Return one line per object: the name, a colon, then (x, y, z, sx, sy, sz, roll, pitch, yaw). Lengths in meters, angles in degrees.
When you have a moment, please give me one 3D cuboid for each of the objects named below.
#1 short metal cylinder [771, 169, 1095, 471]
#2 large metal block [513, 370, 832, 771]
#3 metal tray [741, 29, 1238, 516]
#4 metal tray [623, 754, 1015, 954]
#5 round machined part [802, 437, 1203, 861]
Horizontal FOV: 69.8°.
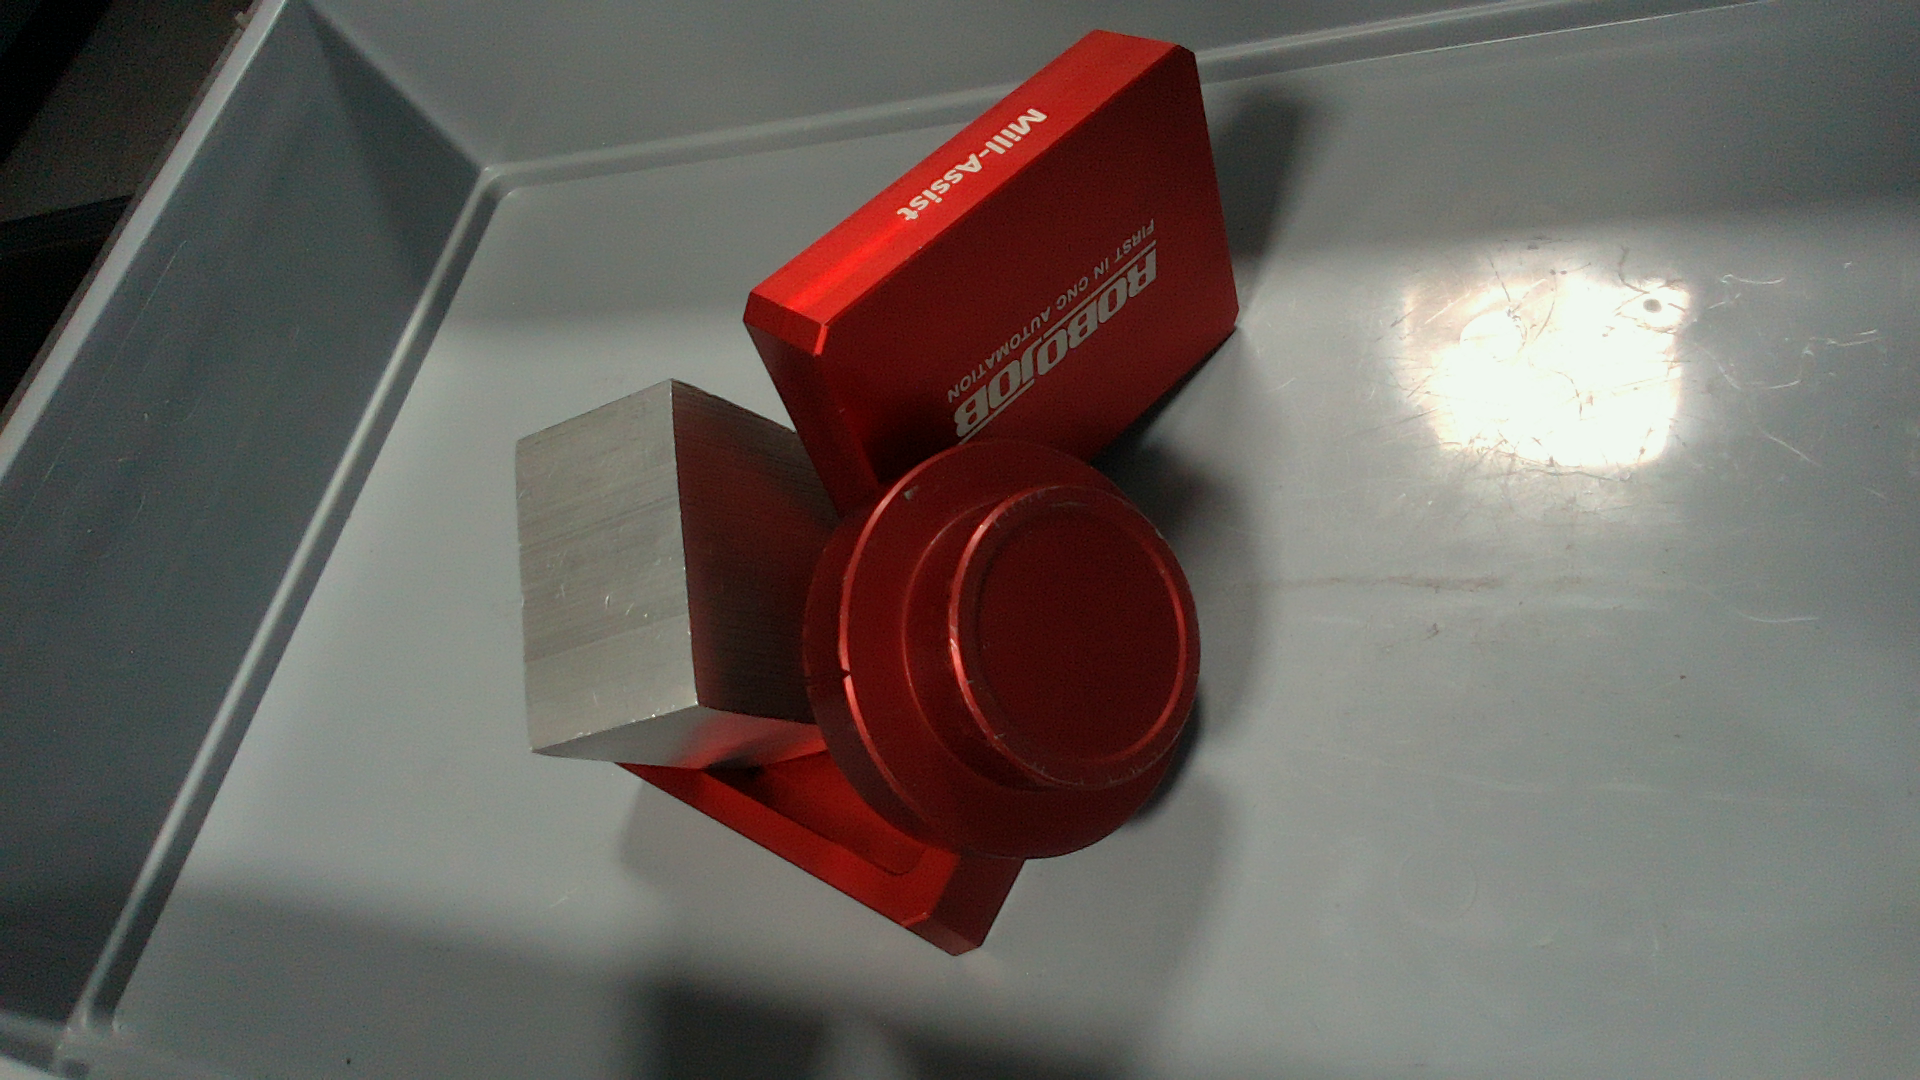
short metal cylinder: (-0.008, -0.064, 0.401, 0.080, 0.050, 0.080, -24, 27, 14)
large metal block: (-0.064, 0.013, 0.354, 0.050, 0.080, 0.080, -18, 70, 26)
metal tray: (0.015, -0.060, 0.359, 0.130, 0.090, 0.030, -42, 46, -21)
metal tray: (-0.033, 0.043, 0.379, 0.129, 0.030, 0.090, 19, 71, 36)
round machined part: (0.017, 0.024, 0.317, 0.042, 0.098, 0.098, -17, 48, 57)
